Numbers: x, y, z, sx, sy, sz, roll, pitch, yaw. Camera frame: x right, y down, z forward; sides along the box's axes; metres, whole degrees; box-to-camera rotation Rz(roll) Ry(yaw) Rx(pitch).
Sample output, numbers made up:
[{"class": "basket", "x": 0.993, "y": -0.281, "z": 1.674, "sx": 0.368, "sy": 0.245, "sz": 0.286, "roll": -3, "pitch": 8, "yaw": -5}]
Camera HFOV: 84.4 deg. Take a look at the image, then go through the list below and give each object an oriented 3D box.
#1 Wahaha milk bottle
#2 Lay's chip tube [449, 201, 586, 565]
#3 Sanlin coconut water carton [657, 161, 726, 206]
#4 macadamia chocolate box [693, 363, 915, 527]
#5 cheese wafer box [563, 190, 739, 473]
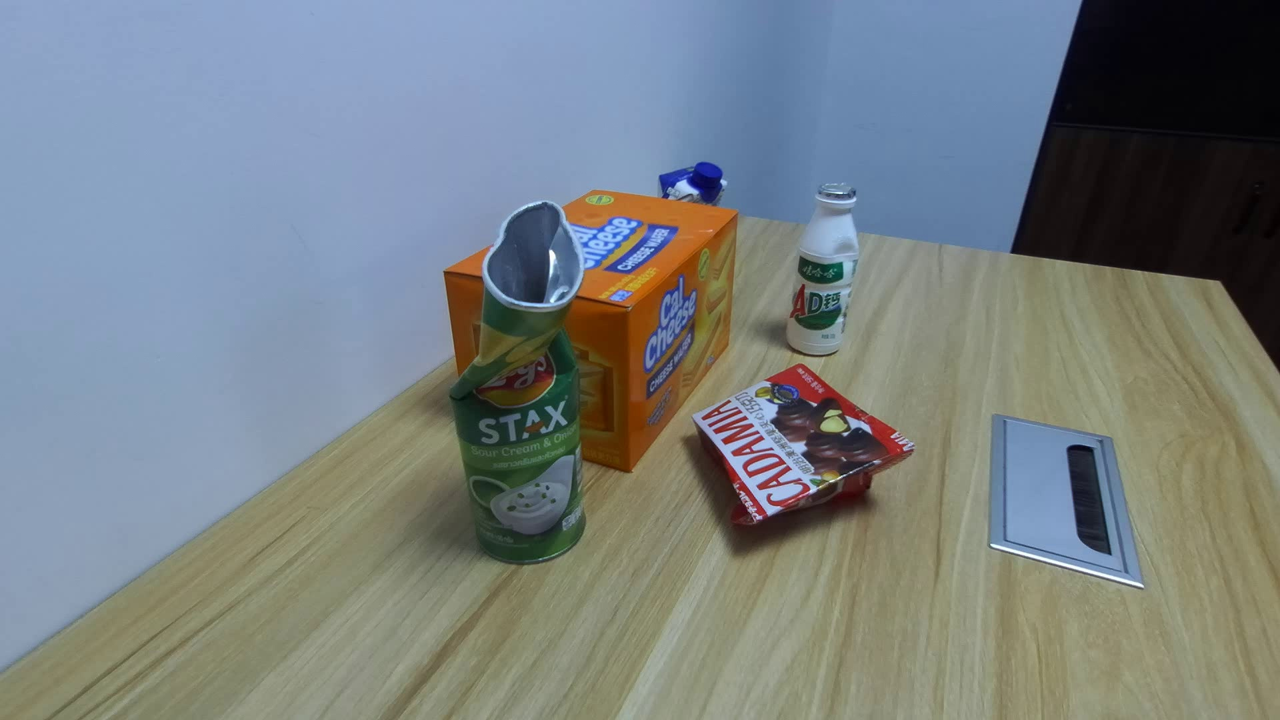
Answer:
[{"class": "Wahaha milk bottle", "x": 0.162, "y": -0.073, "z": 0.625, "sx": 0.053, "sy": 0.137, "sz": 0.053, "roll": 2, "pitch": 26, "yaw": -1}, {"class": "Lay's chip tube", "x": -0.060, "y": 0.023, "z": 0.390, "sx": 0.070, "sy": 0.199, "sz": 0.079, "roll": 29, "pitch": 41, "yaw": 31}, {"class": "Sanlin coconut water carton", "x": 0.052, "y": -0.132, "z": 0.723, "sx": 0.057, "sy": 0.142, "sz": 0.078, "roll": 31, "pitch": 42, "yaw": 35}, {"class": "macadamia chocolate box", "x": 0.096, "y": 0.057, "z": 0.470, "sx": 0.112, "sy": 0.056, "sz": 0.126, "roll": -9, "pitch": 30, "yaw": -18}, {"class": "cheese wafer box", "x": -0.025, "y": -0.038, "z": 0.567, "sx": 0.148, "sy": 0.129, "sz": 0.222, "roll": 14, "pitch": 32, "yaw": 21}]
